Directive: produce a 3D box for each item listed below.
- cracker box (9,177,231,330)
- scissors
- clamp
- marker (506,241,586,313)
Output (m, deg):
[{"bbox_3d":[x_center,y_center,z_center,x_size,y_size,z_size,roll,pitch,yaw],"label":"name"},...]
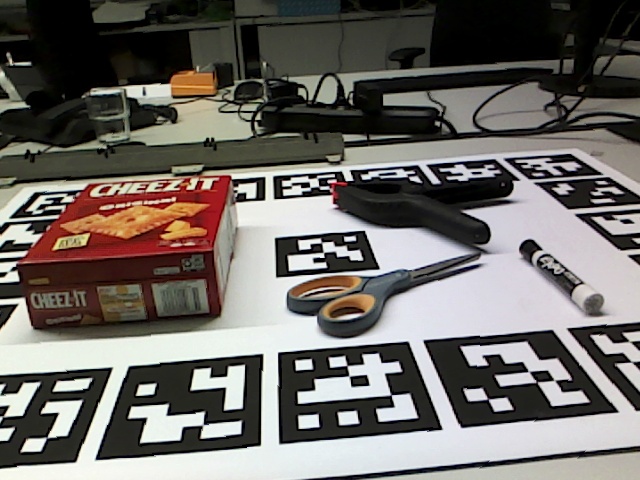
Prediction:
[{"bbox_3d":[-0.180,0.002,0.614,0.164,0.072,0.214,-4,24,-2],"label":"cracker box"},{"bbox_3d":[0.059,0.039,0.561,0.202,0.016,0.088,-15,25,-31],"label":"scissors"},{"bbox_3d":[0.093,-0.035,0.738,0.204,0.036,0.165,9,25,24],"label":"clamp"},{"bbox_3d":[0.202,0.030,0.564,0.019,0.019,0.121,-6,23,-7],"label":"marker"}]
